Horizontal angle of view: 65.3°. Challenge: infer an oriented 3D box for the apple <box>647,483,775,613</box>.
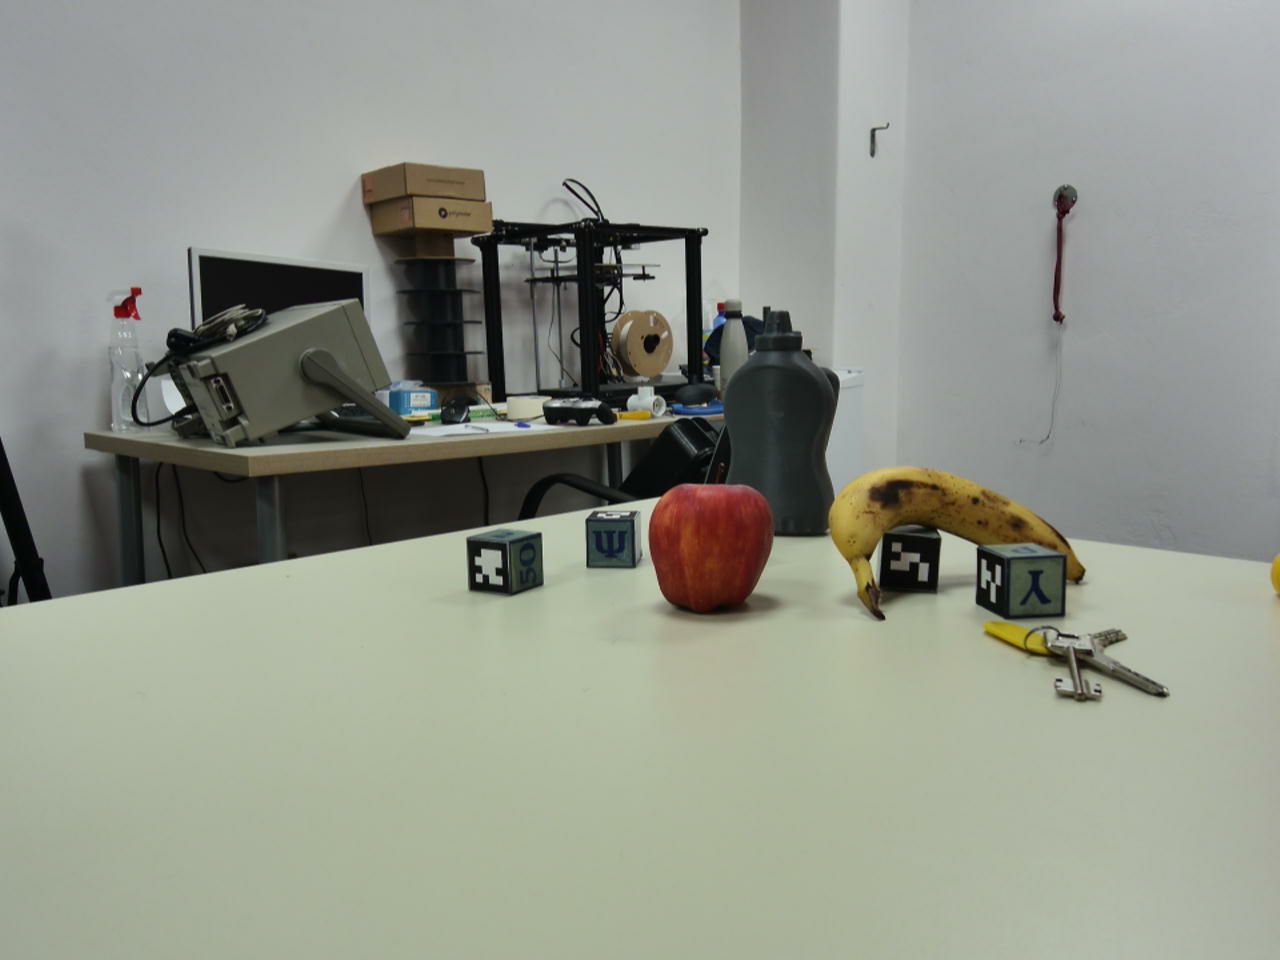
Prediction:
[{"bbox_3d":[0.046,0.035,0.636,0.083,0.090,0.083,1,6,0],"label":"apple"}]
